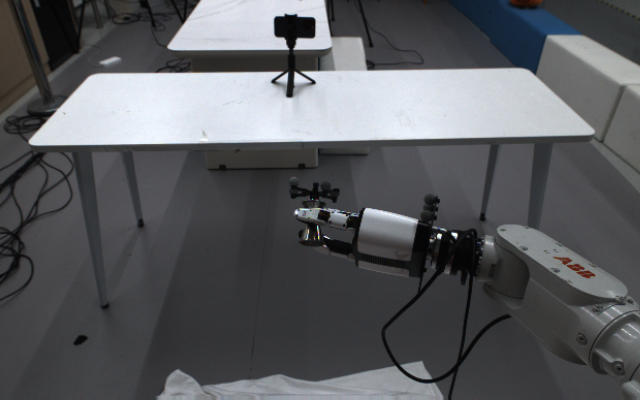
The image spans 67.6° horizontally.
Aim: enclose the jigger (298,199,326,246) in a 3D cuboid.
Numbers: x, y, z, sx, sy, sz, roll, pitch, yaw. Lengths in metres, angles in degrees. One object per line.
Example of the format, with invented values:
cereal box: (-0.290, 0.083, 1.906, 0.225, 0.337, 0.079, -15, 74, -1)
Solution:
jigger: (-0.013, 0.035, 0.776, 0.043, 0.043, 0.071, 3, 72, 1)
